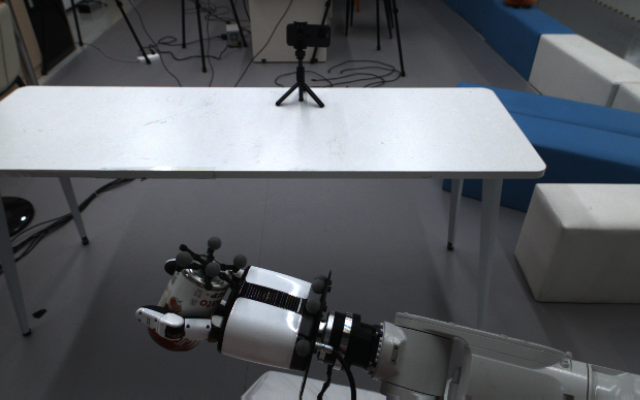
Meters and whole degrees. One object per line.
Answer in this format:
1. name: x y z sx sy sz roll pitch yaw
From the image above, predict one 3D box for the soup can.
1. soup can: -0.159 0.126 0.591 0.067 0.101 0.067 28 18 -10
